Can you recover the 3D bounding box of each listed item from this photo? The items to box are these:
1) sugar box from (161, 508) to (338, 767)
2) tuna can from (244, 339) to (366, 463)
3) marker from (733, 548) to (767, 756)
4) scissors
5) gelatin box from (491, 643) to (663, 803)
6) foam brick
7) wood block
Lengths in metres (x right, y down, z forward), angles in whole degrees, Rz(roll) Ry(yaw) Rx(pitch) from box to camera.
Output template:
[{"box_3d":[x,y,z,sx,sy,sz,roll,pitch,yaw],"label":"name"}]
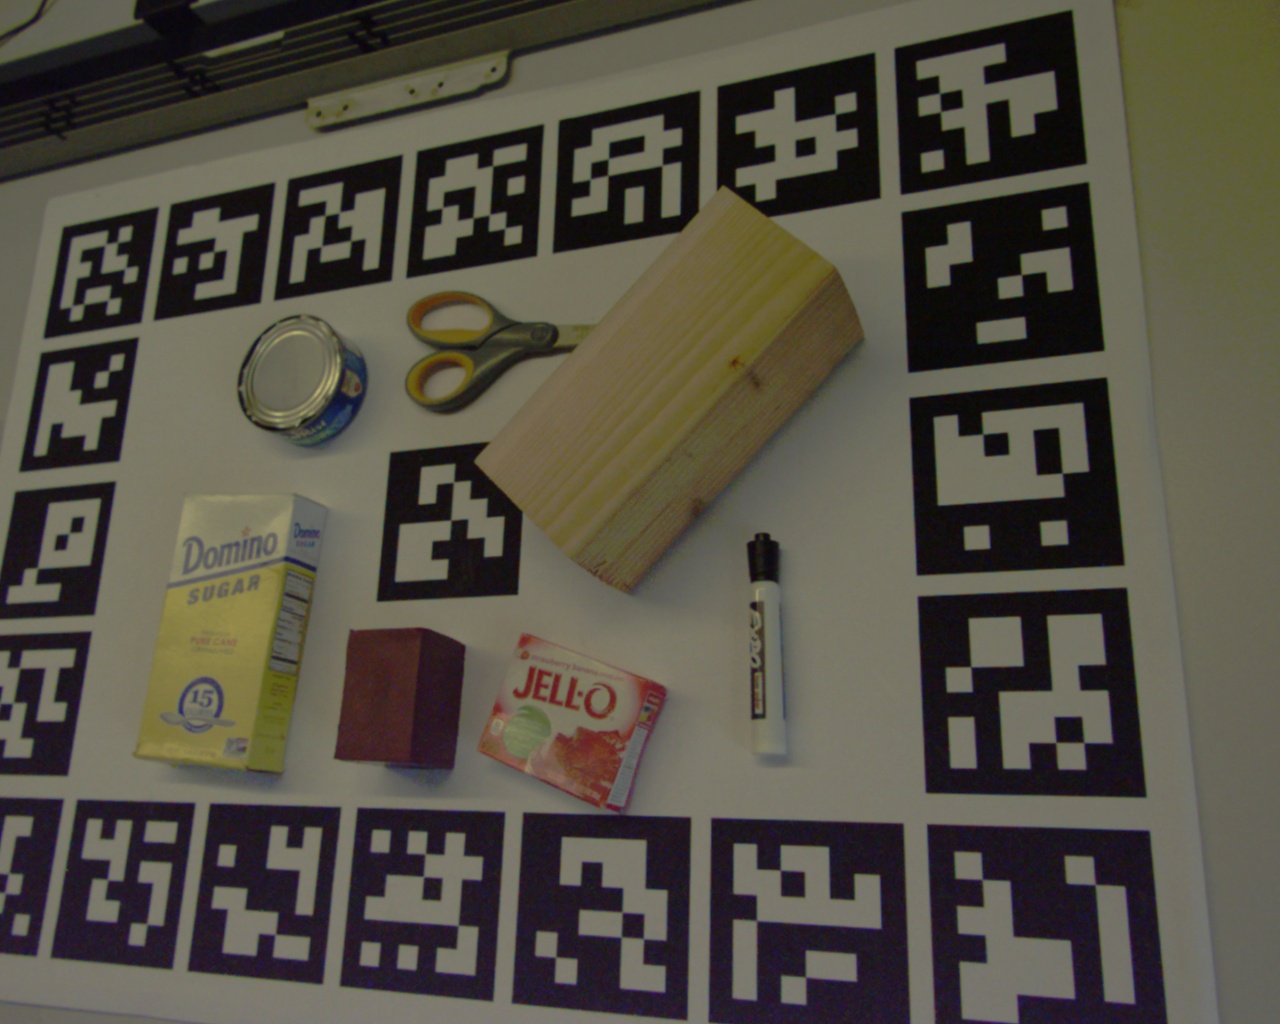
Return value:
[{"box_3d":[-0.270,0.086,0.794,0.094,0.045,0.176,0,76,21],"label":"sugar box"},{"box_3d":[-0.243,-0.080,0.829,0.086,0.033,0.086,-6,75,21],"label":"tuna can"},{"box_3d":[0.065,0.081,0.668,0.020,0.019,0.121,-3,77,21],"label":"marker"},{"box_3d":[-0.076,-0.098,0.778,0.205,0.015,0.088,3,77,25],"label":"scissors"},{"box_3d":[-0.039,0.127,0.694,0.090,0.030,0.073,15,83,25],"label":"gelatin box"},{"box_3d":[-0.141,0.123,0.722,0.053,0.051,0.078,-3,76,22],"label":"foam brick"},{"box_3d":[0.020,-0.054,0.689,0.206,0.090,0.091,-48,64,3],"label":"wood block"}]
